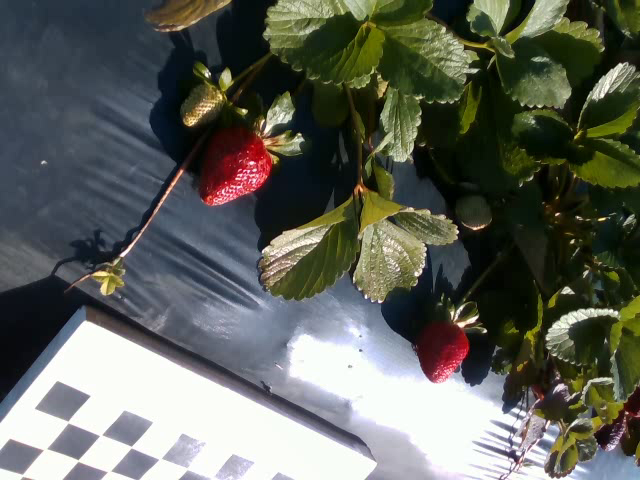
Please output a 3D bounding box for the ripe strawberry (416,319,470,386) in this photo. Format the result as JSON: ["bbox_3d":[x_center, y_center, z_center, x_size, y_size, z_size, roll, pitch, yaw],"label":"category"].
[{"bbox_3d":[0.084,0.081,0.422,0.043,0.043,0.050,7,38,22],"label":"ripe strawberry"}]

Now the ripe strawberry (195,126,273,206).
[{"bbox_3d":[-0.047,-0.036,0.313,0.043,0.053,0.042,-5,-40,36],"label":"ripe strawberry"}]
